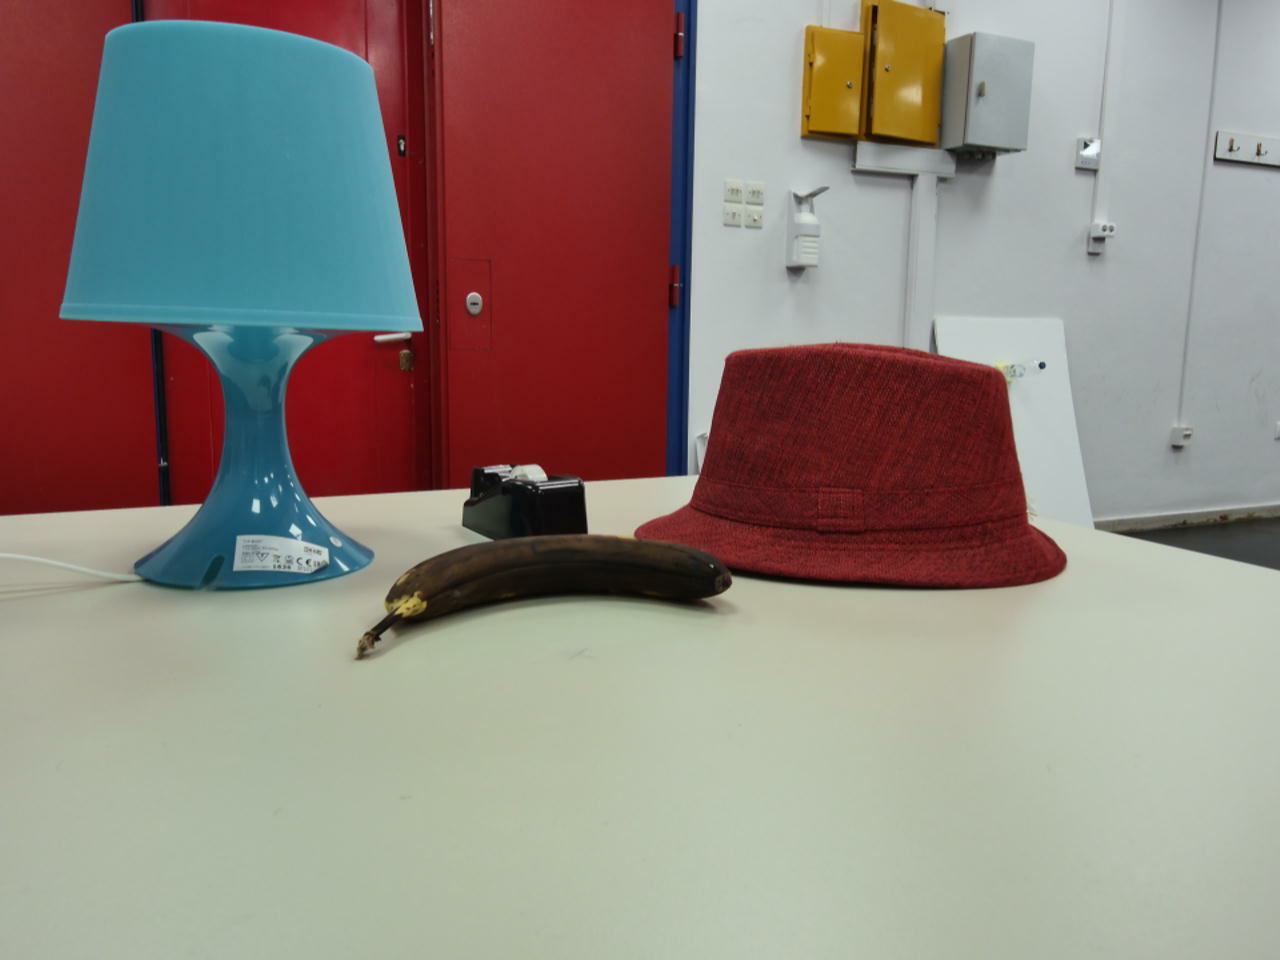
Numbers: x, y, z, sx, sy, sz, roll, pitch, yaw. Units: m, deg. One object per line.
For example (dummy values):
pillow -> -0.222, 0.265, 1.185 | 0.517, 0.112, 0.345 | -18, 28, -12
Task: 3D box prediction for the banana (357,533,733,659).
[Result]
banana -> -0.051, 0.049, 0.502 | 0.188, 0.033, 0.091 | -3, 7, -24
